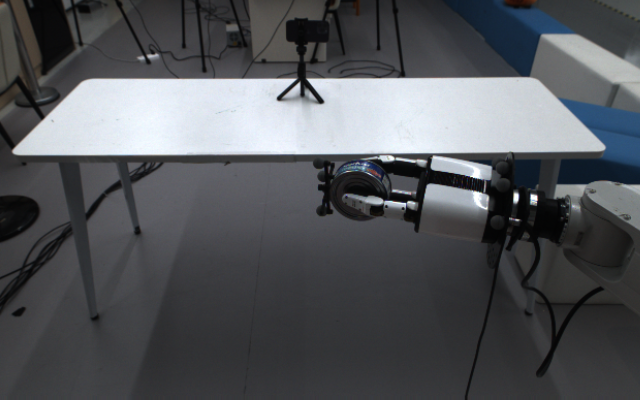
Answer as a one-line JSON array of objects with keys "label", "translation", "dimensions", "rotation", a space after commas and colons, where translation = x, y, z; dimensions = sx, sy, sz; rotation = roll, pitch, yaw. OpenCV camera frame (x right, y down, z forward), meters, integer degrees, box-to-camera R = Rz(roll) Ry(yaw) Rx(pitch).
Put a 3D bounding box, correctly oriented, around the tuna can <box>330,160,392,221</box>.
[{"label": "tuna can", "translation": [0.060, -0.012, 0.686], "dimensions": [0.085, 0.085, 0.034], "rotation": [9, 32, 10]}]
